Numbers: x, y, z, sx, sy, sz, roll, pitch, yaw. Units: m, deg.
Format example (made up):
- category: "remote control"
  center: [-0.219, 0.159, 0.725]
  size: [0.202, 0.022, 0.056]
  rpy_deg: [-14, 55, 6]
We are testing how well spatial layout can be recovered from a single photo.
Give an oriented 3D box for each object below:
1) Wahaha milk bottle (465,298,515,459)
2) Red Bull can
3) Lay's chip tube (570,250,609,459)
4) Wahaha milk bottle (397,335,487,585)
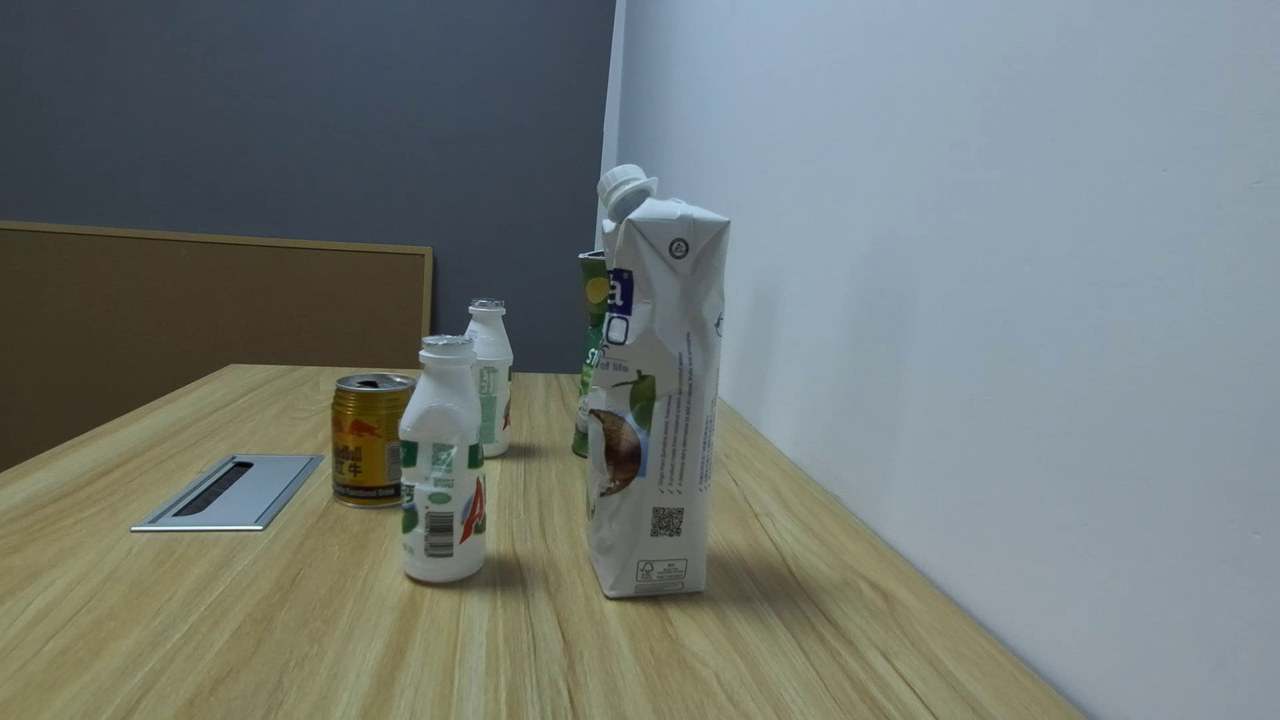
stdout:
- category: "Wahaha milk bottle"
  center: [-0.148, 0.017, 0.672]
  size: [0.053, 0.147, 0.053]
  rpy_deg: [3, 8, 0]
- category: "Red Bull can"
  center: [-0.207, 0.063, 0.560]
  size: [0.067, 0.093, 0.067]
  rpy_deg: [2, 9, 0]
- category: "Lay's chip tube"
  center: [-0.026, -0.007, 0.677]
  size: [0.077, 0.200, 0.069]
  rpy_deg: [2, 3, 18]
- category: "Wahaha milk bottle"
  center: [-0.122, 0.060, 0.439]
  size: [0.055, 0.149, 0.055]
  rpy_deg: [2, 9, 0]
